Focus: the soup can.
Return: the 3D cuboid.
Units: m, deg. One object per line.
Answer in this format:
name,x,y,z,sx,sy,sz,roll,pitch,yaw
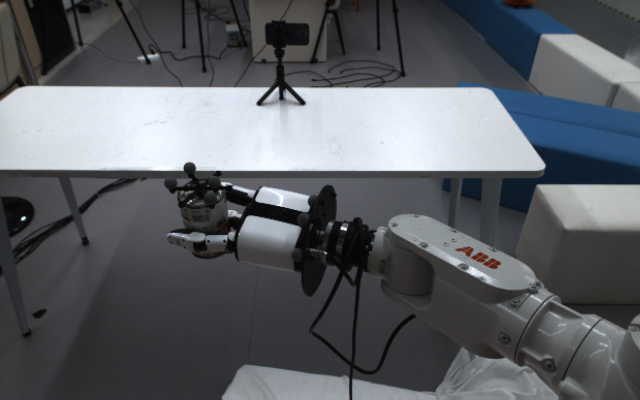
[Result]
soup can,-0.166,0.029,0.710,0.067,0.101,0.067,0,39,0
